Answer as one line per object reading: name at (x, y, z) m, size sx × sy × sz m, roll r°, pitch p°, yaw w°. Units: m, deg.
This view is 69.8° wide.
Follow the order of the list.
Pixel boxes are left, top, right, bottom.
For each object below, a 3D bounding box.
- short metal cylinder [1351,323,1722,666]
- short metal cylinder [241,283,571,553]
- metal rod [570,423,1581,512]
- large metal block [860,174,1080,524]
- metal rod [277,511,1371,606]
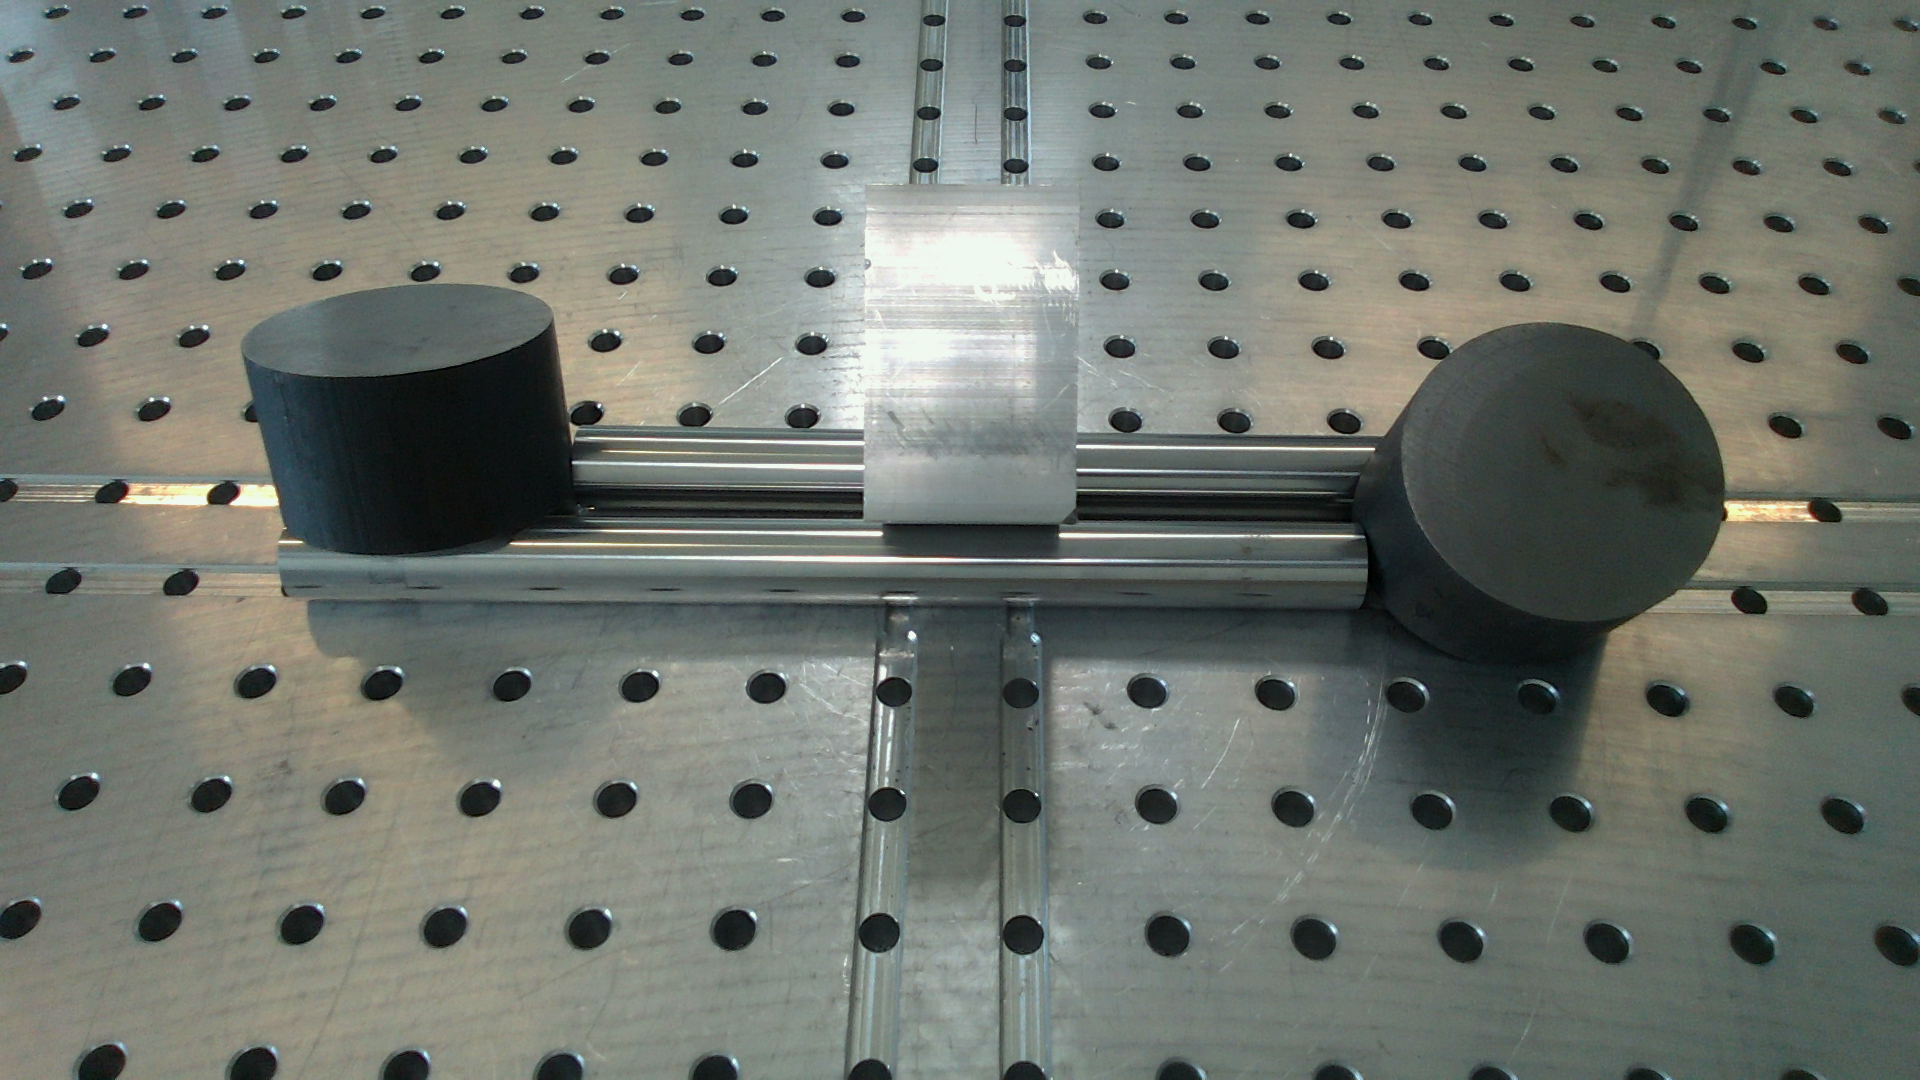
short metal cylinder at (0.152, -0.011, 0.370) m, size 0.080 × 0.050 × 0.080 m, roll 0°, pitch 72°, yaw 1°
short metal cylinder at (-0.154, -0.037, 0.390) m, size 0.080 × 0.050 × 0.080 m, roll 0°, pitch 27°, yaw 0°
metal rod at (0.037, -0.021, 0.411) m, size 0.300 × 0.025 × 0.025 m, roll 1°, pitch 50°, yaw 0°
large metal block at (0.003, -0.045, 0.358) m, size 0.050 × 0.080 × 0.080 m, roll 1°, pitch 92°, yaw 1°
metal rod at (-0.038, 0.005, 0.389) m, size 0.300 × 0.025 × 0.025 m, roll 1°, pitch 50°, yaw 0°
